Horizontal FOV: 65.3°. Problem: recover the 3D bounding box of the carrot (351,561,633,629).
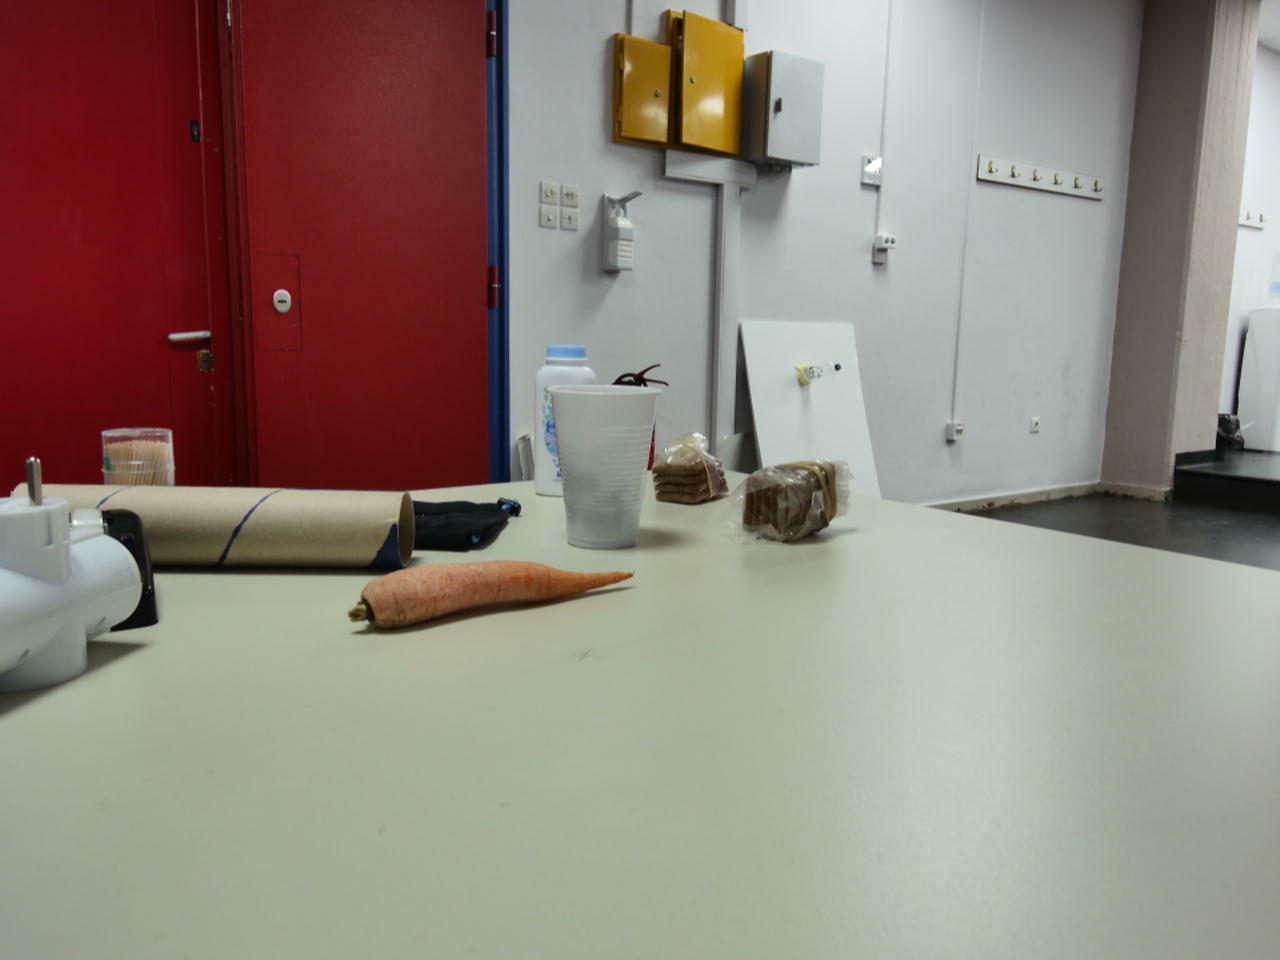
[{"bbox_3d":[-0.075,0.056,0.539,0.163,0.029,0.031,-5,8,-36],"label":"carrot"}]
